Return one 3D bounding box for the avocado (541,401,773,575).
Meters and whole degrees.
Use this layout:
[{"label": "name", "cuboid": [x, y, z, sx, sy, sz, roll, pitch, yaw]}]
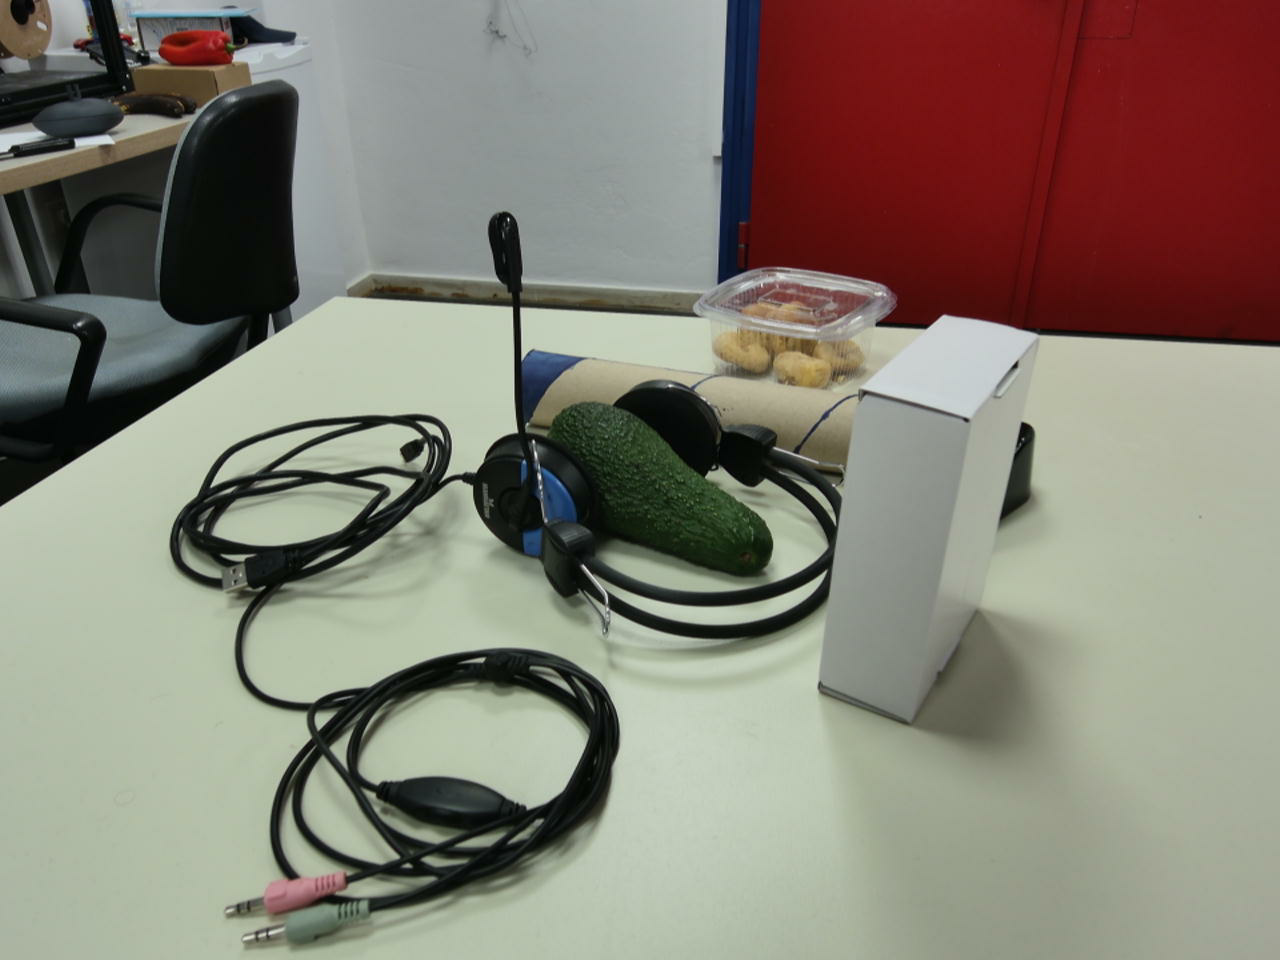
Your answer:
[{"label": "avocado", "cuboid": [0.010, 0.000, 0.513, 0.141, 0.067, 0.063, 13, 28, 25]}]
